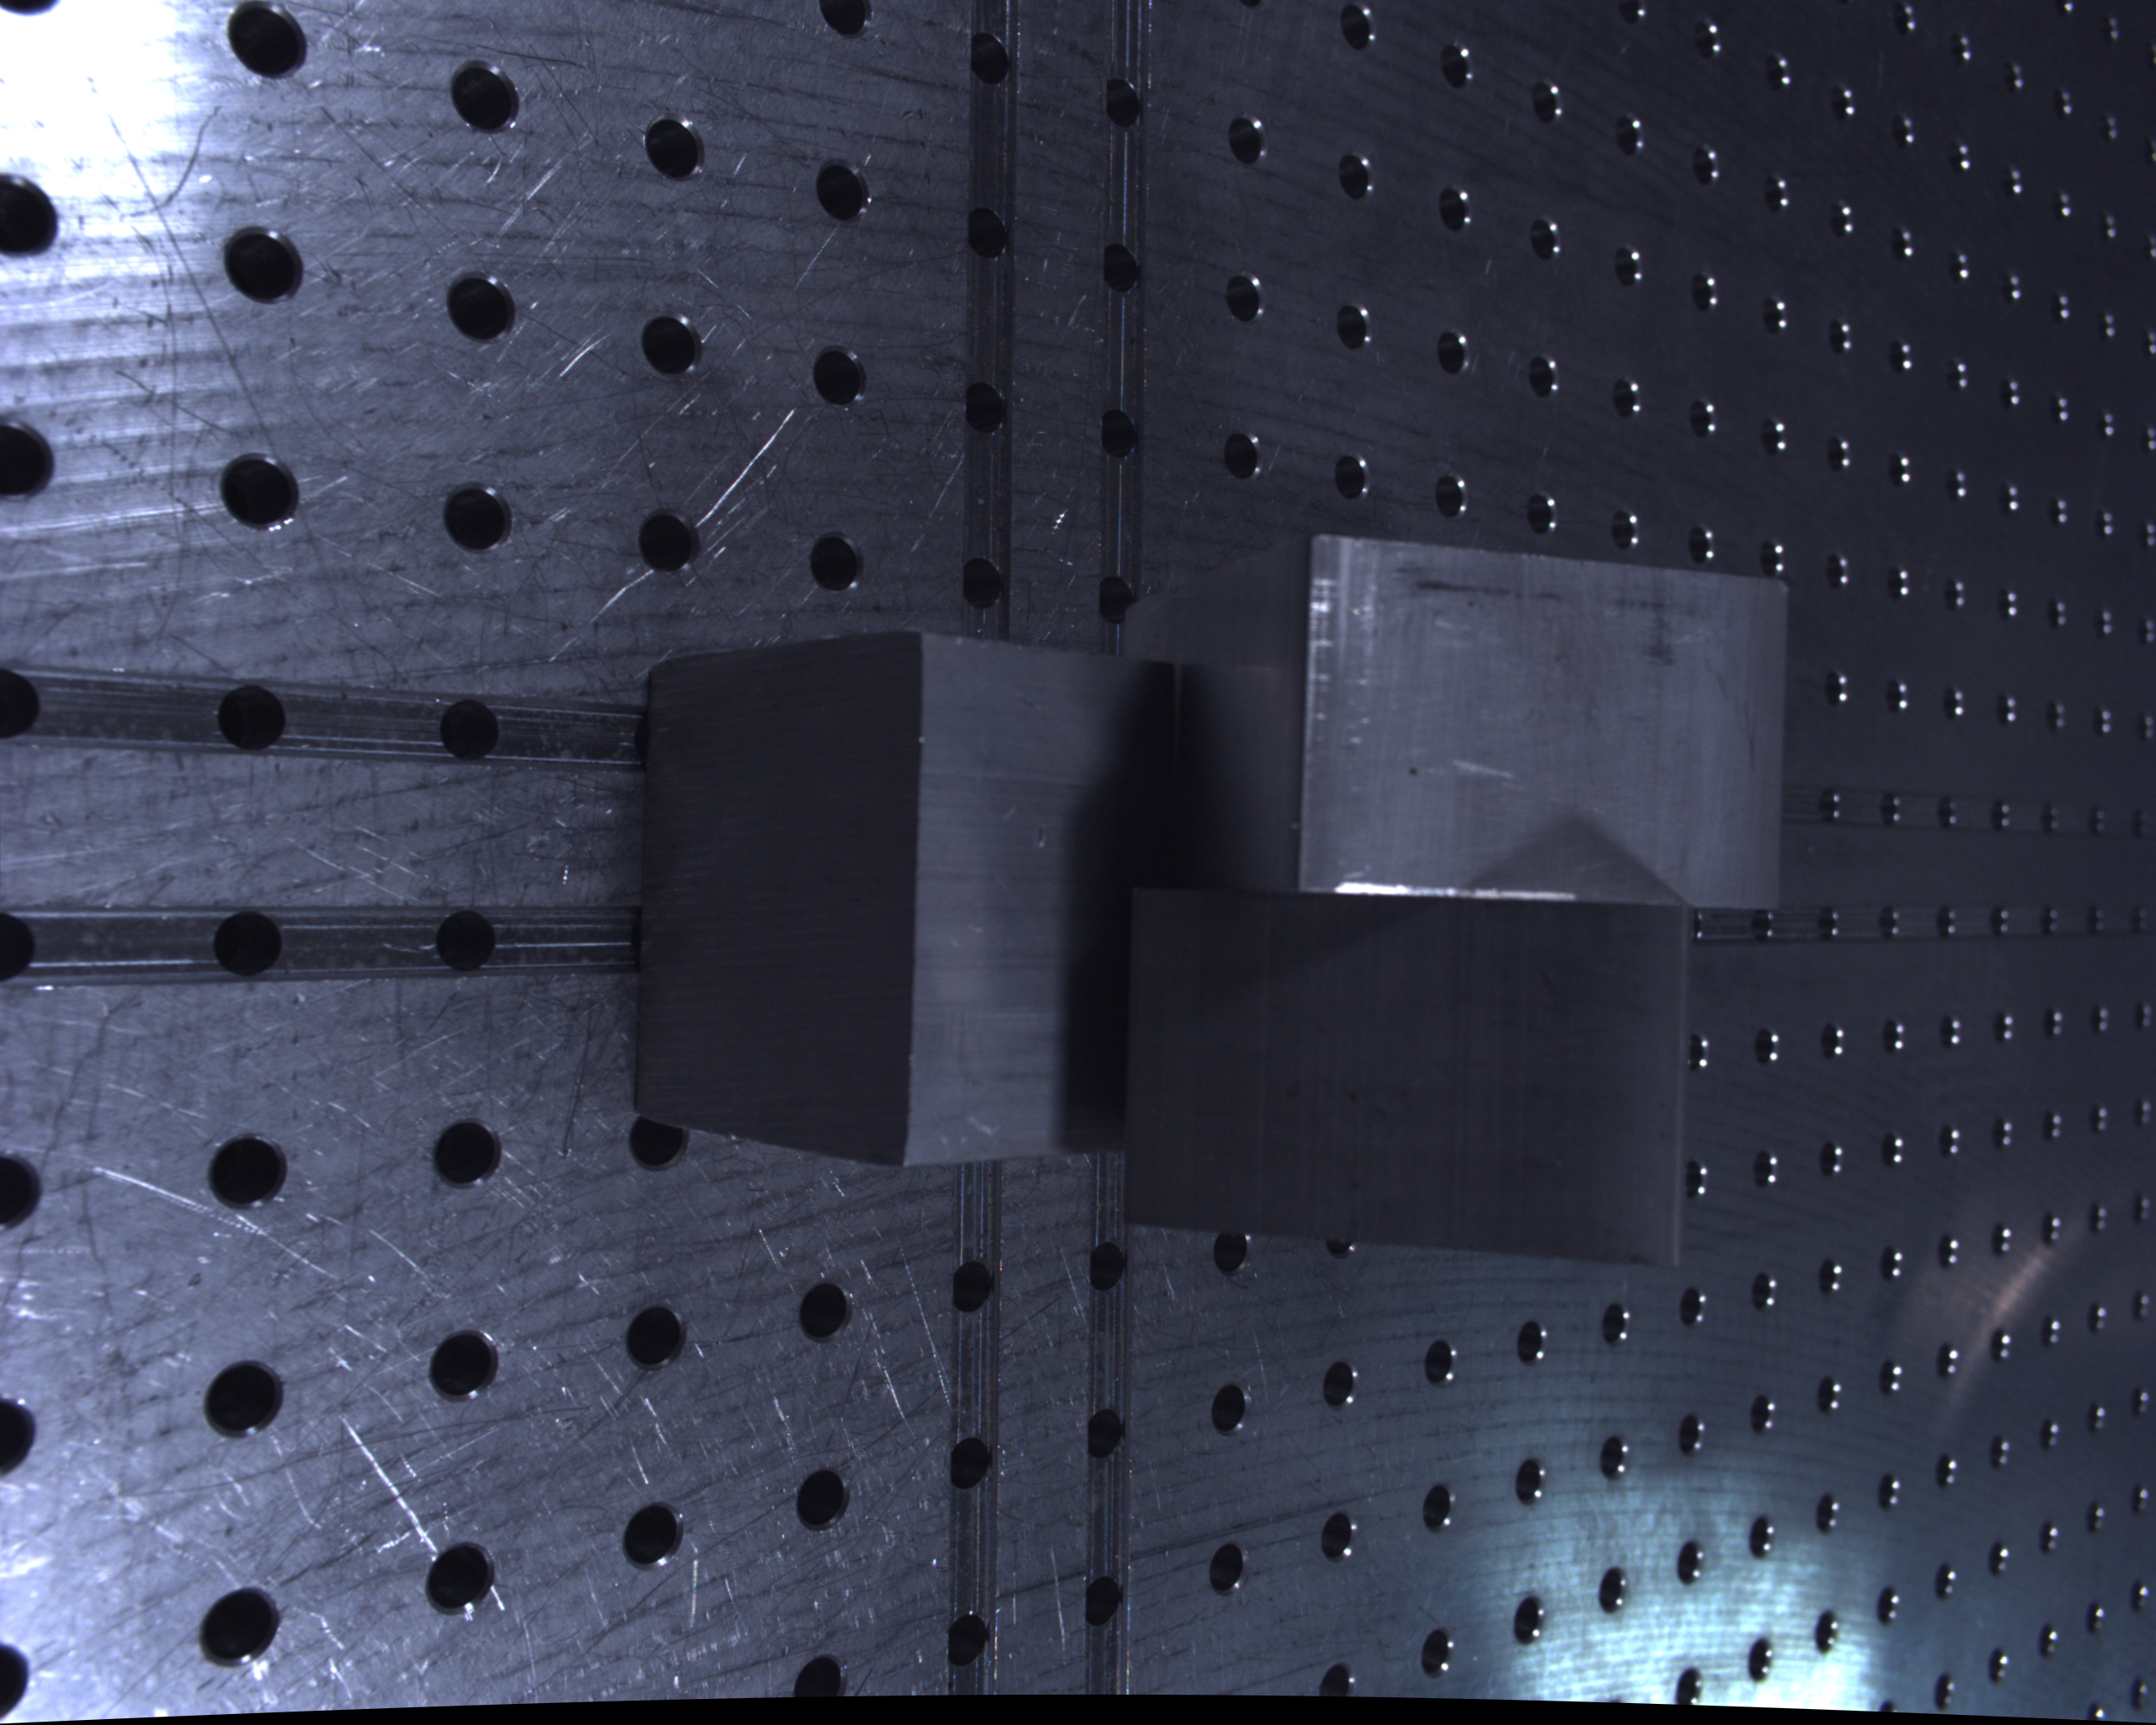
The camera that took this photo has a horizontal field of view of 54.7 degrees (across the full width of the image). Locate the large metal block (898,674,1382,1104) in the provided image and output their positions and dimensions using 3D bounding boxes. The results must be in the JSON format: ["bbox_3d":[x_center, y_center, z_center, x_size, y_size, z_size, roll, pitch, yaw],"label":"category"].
[{"bbox_3d":[0.012,0.005,0.403,0.081,0.050,0.080,3,88,-40],"label":"large metal block"}]

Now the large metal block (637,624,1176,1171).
[{"bbox_3d":[-0.031,0.005,0.350,0.050,0.080,0.079,2,89,-40],"label":"large metal block"}]

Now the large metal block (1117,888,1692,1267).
[{"bbox_3d":[0.057,0.031,0.336,0.080,0.080,0.050,8,84,-73],"label":"large metal block"}]

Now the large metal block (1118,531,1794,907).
[{"bbox_3d":[0.057,-0.019,0.340,0.081,0.080,0.050,2,88,-18],"label":"large metal block"}]

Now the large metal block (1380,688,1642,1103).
[{"bbox_3d":[0.071,0.008,0.435,0.050,0.080,0.080,5,87,-40],"label":"large metal block"}]
